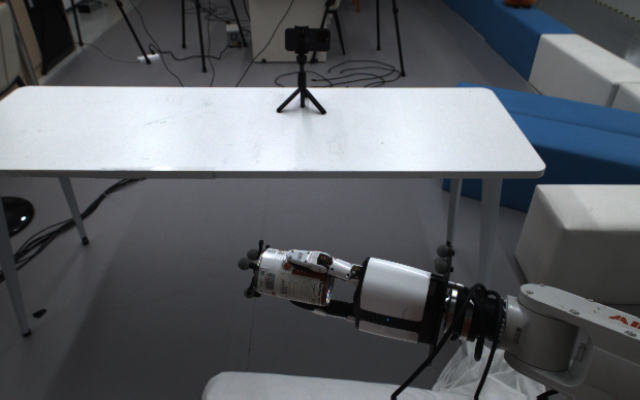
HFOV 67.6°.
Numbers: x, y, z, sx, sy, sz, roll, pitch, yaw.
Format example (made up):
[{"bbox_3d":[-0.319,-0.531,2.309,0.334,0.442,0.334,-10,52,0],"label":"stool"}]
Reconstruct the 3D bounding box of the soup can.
[{"bbox_3d":[-0.031,0.108,0.680,0.101,0.067,0.067,9,35,9],"label":"soup can"}]
